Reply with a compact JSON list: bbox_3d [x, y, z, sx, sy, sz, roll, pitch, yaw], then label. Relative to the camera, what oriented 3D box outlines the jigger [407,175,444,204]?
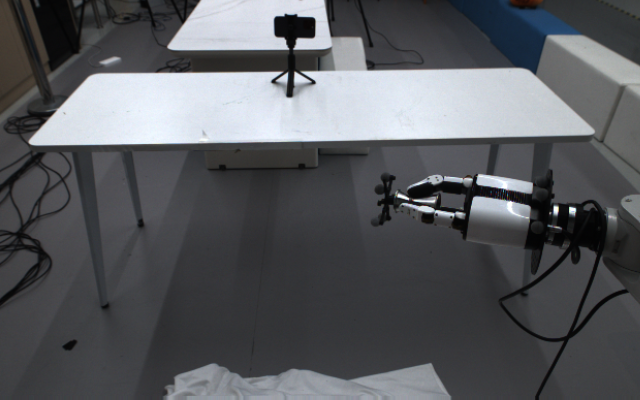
[{"bbox_3d":[0.163,0.002,0.780,0.071,0.043,0.043,8,34,23],"label":"jigger"}]
